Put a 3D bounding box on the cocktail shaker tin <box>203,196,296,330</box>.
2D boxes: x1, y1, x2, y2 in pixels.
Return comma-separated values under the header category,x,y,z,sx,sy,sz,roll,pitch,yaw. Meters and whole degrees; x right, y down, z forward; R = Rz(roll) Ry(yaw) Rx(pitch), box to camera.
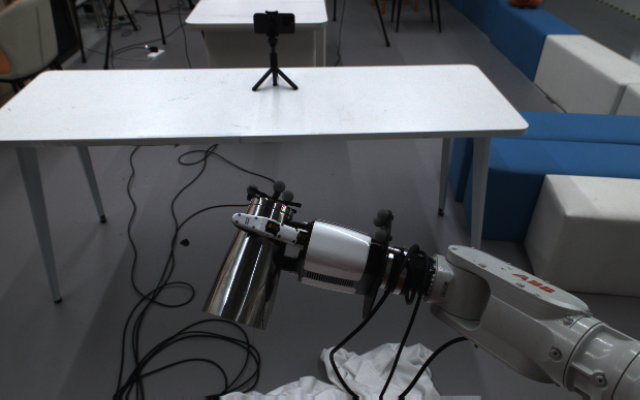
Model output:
category,x,y,z,sx,sy,sz,roll,pitch,yaw
cocktail shaker tin,-0.092,0.084,0.679,0.093,0.093,0.170,12,72,14
